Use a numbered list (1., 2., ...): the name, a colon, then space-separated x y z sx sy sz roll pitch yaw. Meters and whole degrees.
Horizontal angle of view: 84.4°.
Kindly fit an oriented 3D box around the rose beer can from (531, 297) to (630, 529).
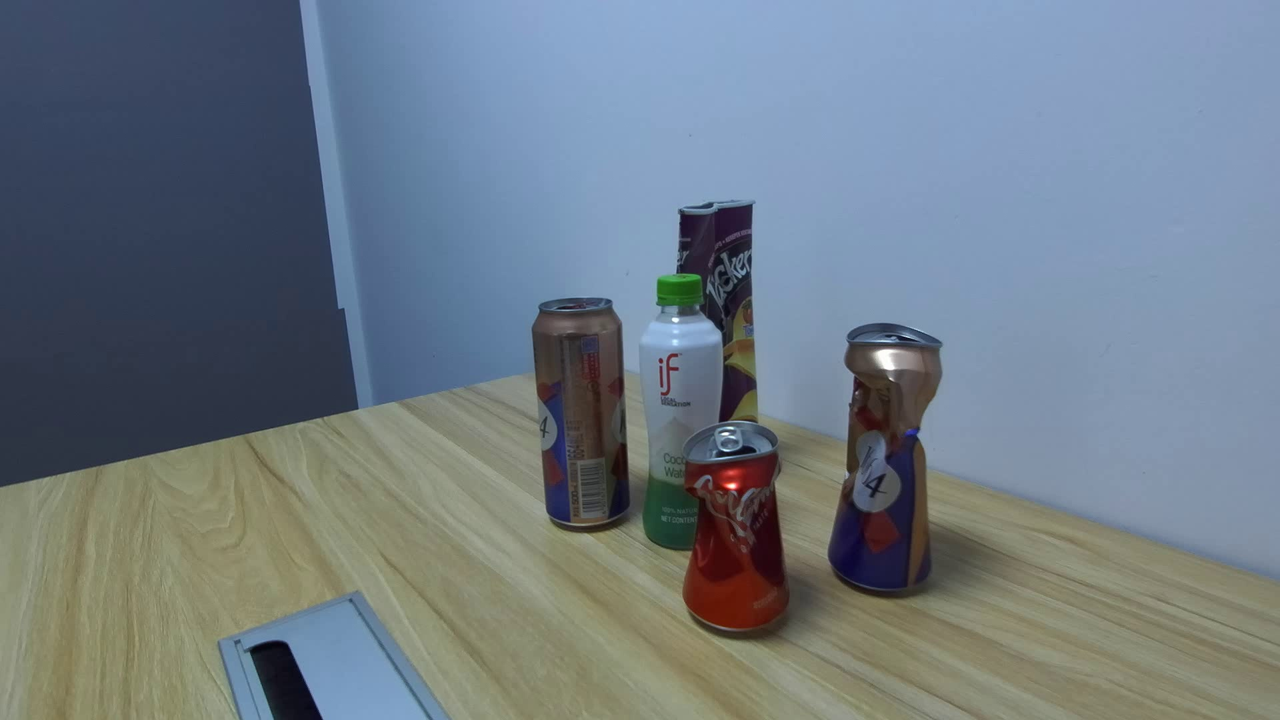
1. rose beer can: -0.043 0.042 0.538 0.068 0.169 0.068 -3 14 1

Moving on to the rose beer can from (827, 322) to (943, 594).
1. rose beer can: 0.152 0.062 0.442 0.068 0.162 0.073 -10 18 -32

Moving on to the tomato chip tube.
1. tomato chip tube: 0.063 -0.010 0.584 0.090 0.235 0.077 -3 15 -13

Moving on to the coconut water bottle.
1. coconut water bottle: 0.030 0.035 0.499 0.063 0.188 0.063 -2 14 1
